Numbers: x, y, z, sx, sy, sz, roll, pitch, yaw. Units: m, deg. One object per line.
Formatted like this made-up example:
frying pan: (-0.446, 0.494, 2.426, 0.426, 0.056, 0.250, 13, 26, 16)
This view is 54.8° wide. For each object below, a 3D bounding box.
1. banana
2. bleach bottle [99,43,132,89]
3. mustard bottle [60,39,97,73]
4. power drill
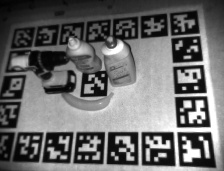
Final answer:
banana: (-0.106, 0.055, 0.763, 0.196, 0.039, 0.074, 1, 76, 14)
bleach bottle: (-0.002, -0.060, 0.676, 0.102, 0.253, 0.067, -10, 71, 10)
mustard bottle: (-0.121, -0.104, 0.738, 0.096, 0.193, 0.058, -2, 71, 11)
power drill: (-0.227, -0.049, 0.721, 0.184, 0.188, 0.057, -5, 64, 8)
